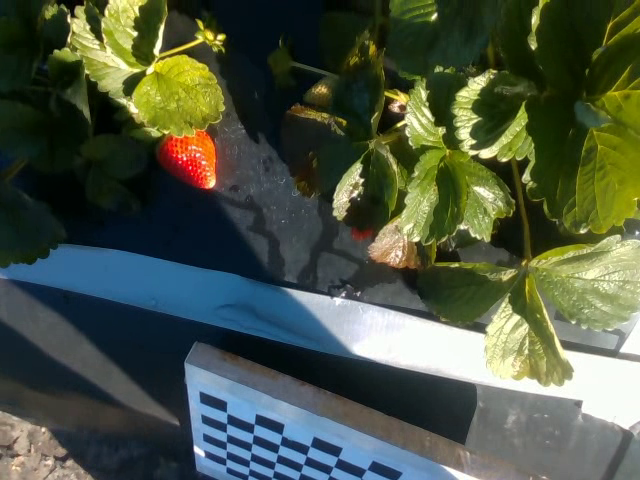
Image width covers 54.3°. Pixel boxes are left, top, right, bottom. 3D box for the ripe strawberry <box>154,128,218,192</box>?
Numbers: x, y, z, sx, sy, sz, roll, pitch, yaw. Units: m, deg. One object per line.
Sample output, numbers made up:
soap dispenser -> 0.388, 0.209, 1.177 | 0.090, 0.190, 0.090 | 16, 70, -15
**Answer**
ripe strawberry -> -0.093, -0.057, 0.447 | 0.042, 0.059, 0.045 | -42, 5, -41
